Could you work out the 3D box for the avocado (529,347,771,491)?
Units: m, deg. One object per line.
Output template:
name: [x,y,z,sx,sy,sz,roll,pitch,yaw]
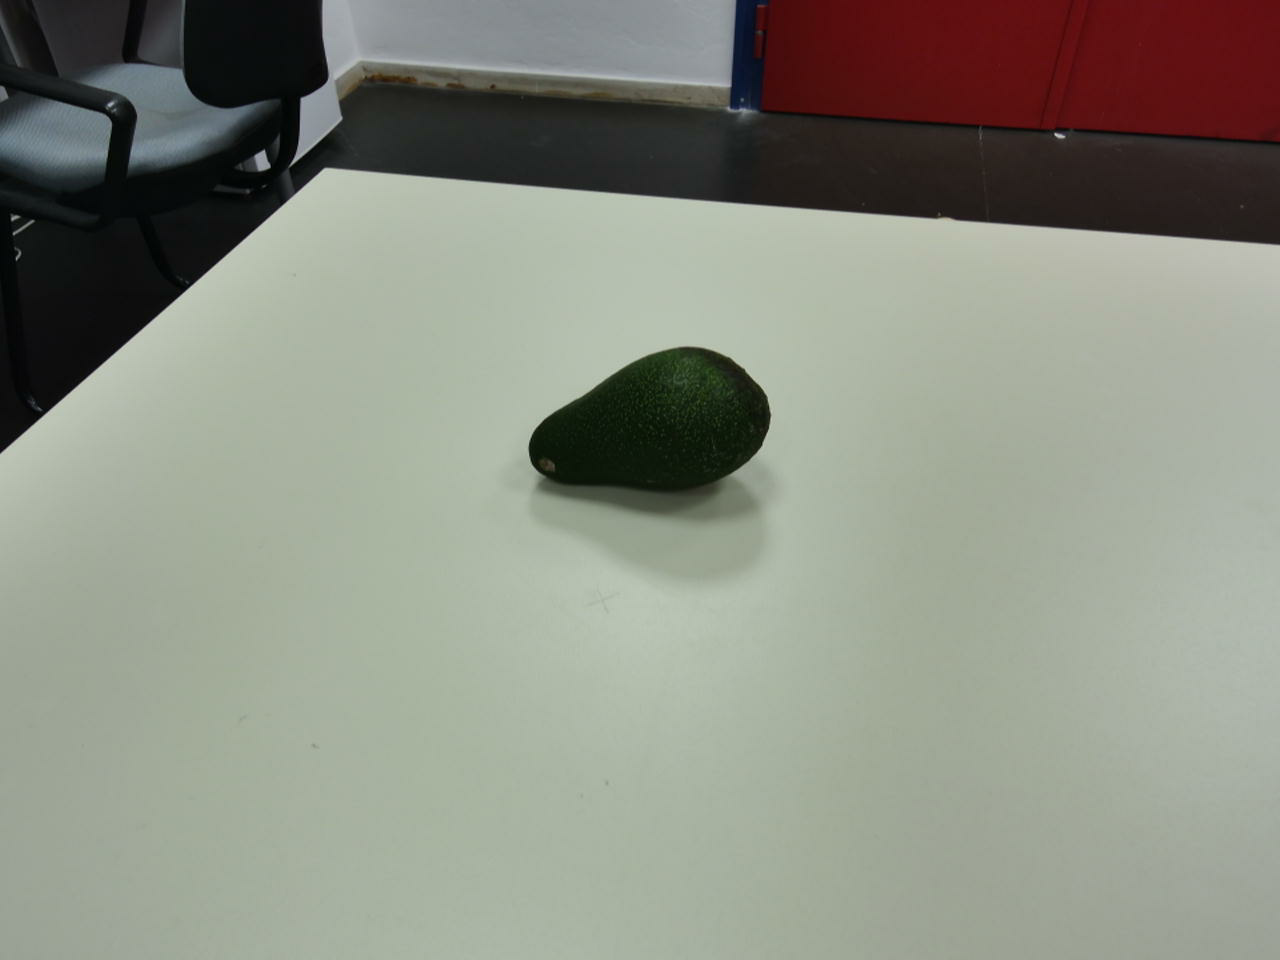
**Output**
avocado: [0.006,-0.035,0.519,0.123,0.076,0.074,13,40,15]
